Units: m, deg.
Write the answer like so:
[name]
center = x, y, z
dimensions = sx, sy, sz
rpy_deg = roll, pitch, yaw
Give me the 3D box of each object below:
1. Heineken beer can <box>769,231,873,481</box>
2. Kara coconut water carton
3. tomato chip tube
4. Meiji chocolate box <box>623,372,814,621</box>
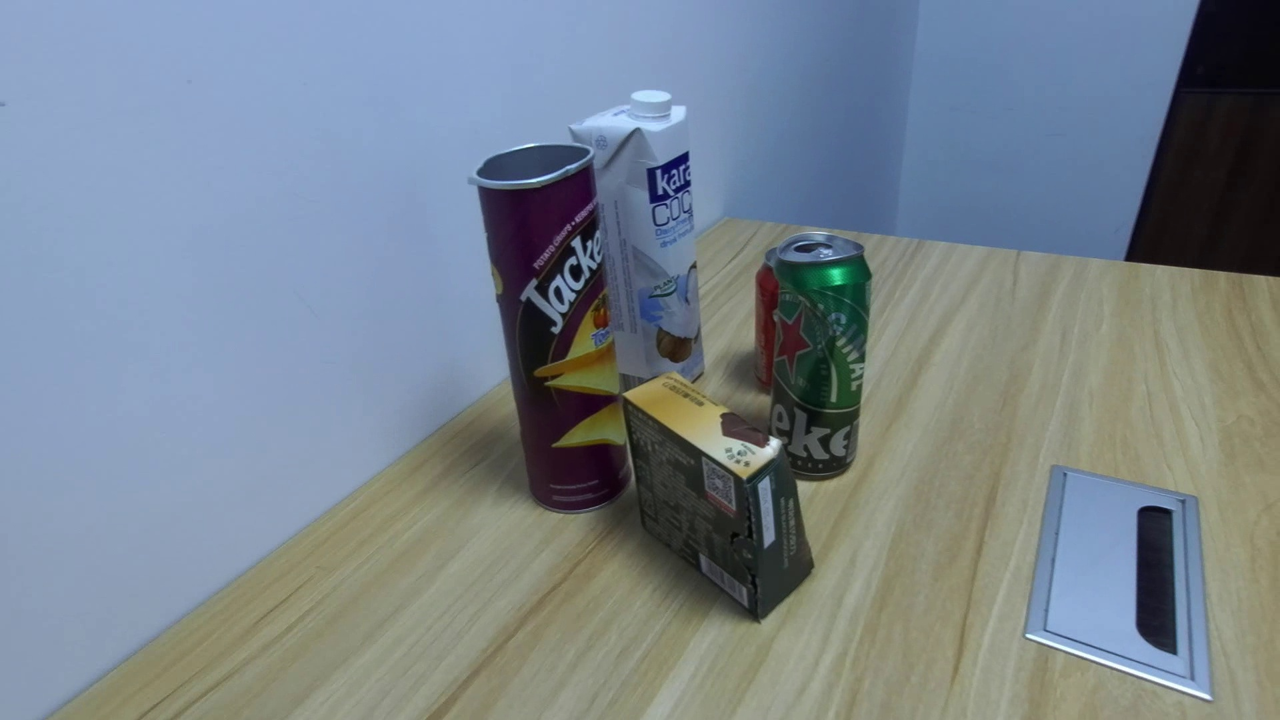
[Heineken beer can]
center = 0.121, 0.001, 0.484
dimensions = 0.066, 0.164, 0.078
rpy_deg = 6, 28, 21
[Kara coconut water carton]
center = 0.003, -0.083, 0.566
dimensions = 0.075, 0.245, 0.077
rpy_deg = 12, 34, 31
[tomato chip tube]
center = -0.052, -0.014, 0.469
dimensions = 0.080, 0.234, 0.076
rpy_deg = -28, 36, -34
[Meiji chocolate box]
center = 0.049, 0.074, 0.423
dimensions = 0.058, 0.111, 0.112
rpy_deg = -28, 35, -27
